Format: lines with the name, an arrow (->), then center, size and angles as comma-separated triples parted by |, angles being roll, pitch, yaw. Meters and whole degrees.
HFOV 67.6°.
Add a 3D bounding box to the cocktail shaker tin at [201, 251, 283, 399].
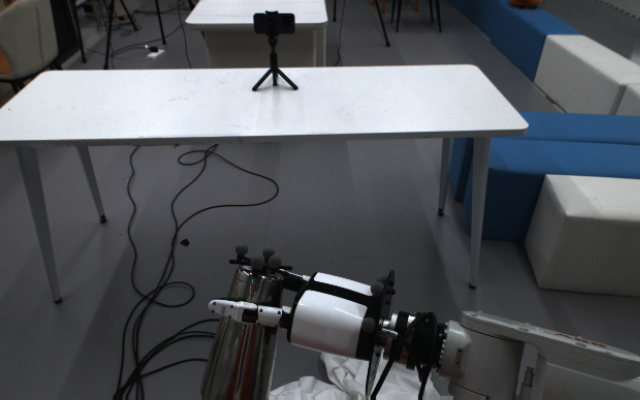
cocktail shaker tin -> -0.096, 0.175, 0.643 | 0.093, 0.170, 0.093 | 13, 3, -1
